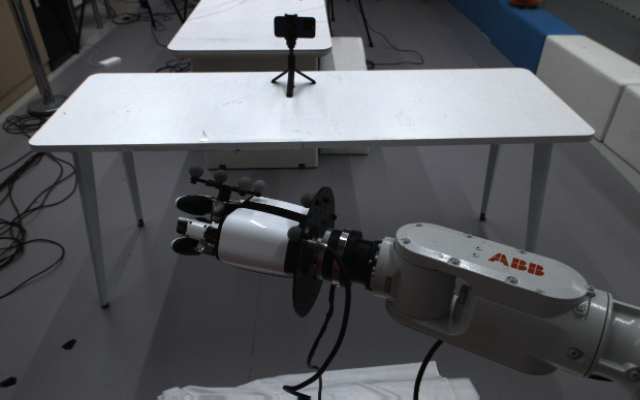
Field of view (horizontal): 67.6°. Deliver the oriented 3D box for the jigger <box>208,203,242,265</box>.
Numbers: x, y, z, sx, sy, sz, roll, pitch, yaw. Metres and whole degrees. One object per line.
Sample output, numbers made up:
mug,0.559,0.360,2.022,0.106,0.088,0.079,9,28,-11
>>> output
jigger,-0.127,0.033,0.613,0.043,0.071,0.043,14,1,0
